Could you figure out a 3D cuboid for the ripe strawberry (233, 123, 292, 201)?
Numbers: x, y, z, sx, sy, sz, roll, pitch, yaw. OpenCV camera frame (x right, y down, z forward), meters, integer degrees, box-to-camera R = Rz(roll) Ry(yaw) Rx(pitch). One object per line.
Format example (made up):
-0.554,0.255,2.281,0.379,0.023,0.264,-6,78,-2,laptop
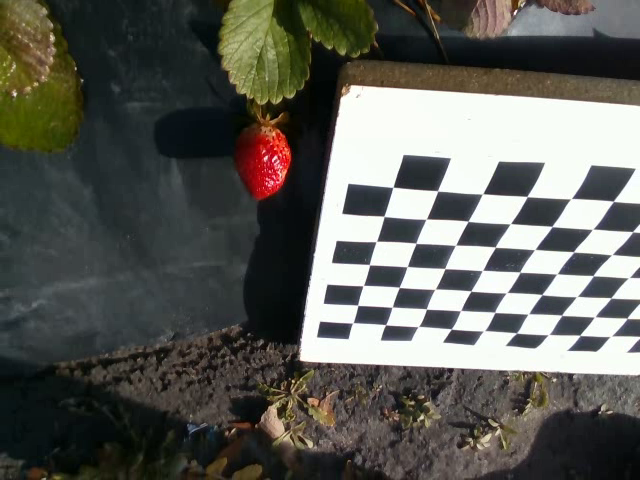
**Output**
-0.026,-0.034,0.268,0.034,0.038,0.033,3,0,-4,ripe strawberry
